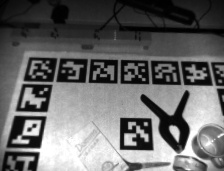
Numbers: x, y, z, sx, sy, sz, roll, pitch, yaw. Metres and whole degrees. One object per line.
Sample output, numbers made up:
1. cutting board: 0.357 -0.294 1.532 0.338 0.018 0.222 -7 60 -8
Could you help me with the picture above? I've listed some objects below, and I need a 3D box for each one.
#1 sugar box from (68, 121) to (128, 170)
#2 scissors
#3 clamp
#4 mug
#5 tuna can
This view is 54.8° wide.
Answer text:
1. sugar box: -0.042 0.196 0.619 0.093 0.045 0.174 -32 63 -16
2. scissors: 0.065 0.226 0.624 0.203 0.016 0.087 -8 60 -7
3. clamp: 0.185 0.108 0.690 0.166 0.037 0.201 -8 65 -5
4. mug: 0.273 0.178 0.624 0.094 0.082 0.116 -23 63 -12
5. tuna can: 0.212 0.222 0.596 0.085 0.086 0.034 16 64 8
